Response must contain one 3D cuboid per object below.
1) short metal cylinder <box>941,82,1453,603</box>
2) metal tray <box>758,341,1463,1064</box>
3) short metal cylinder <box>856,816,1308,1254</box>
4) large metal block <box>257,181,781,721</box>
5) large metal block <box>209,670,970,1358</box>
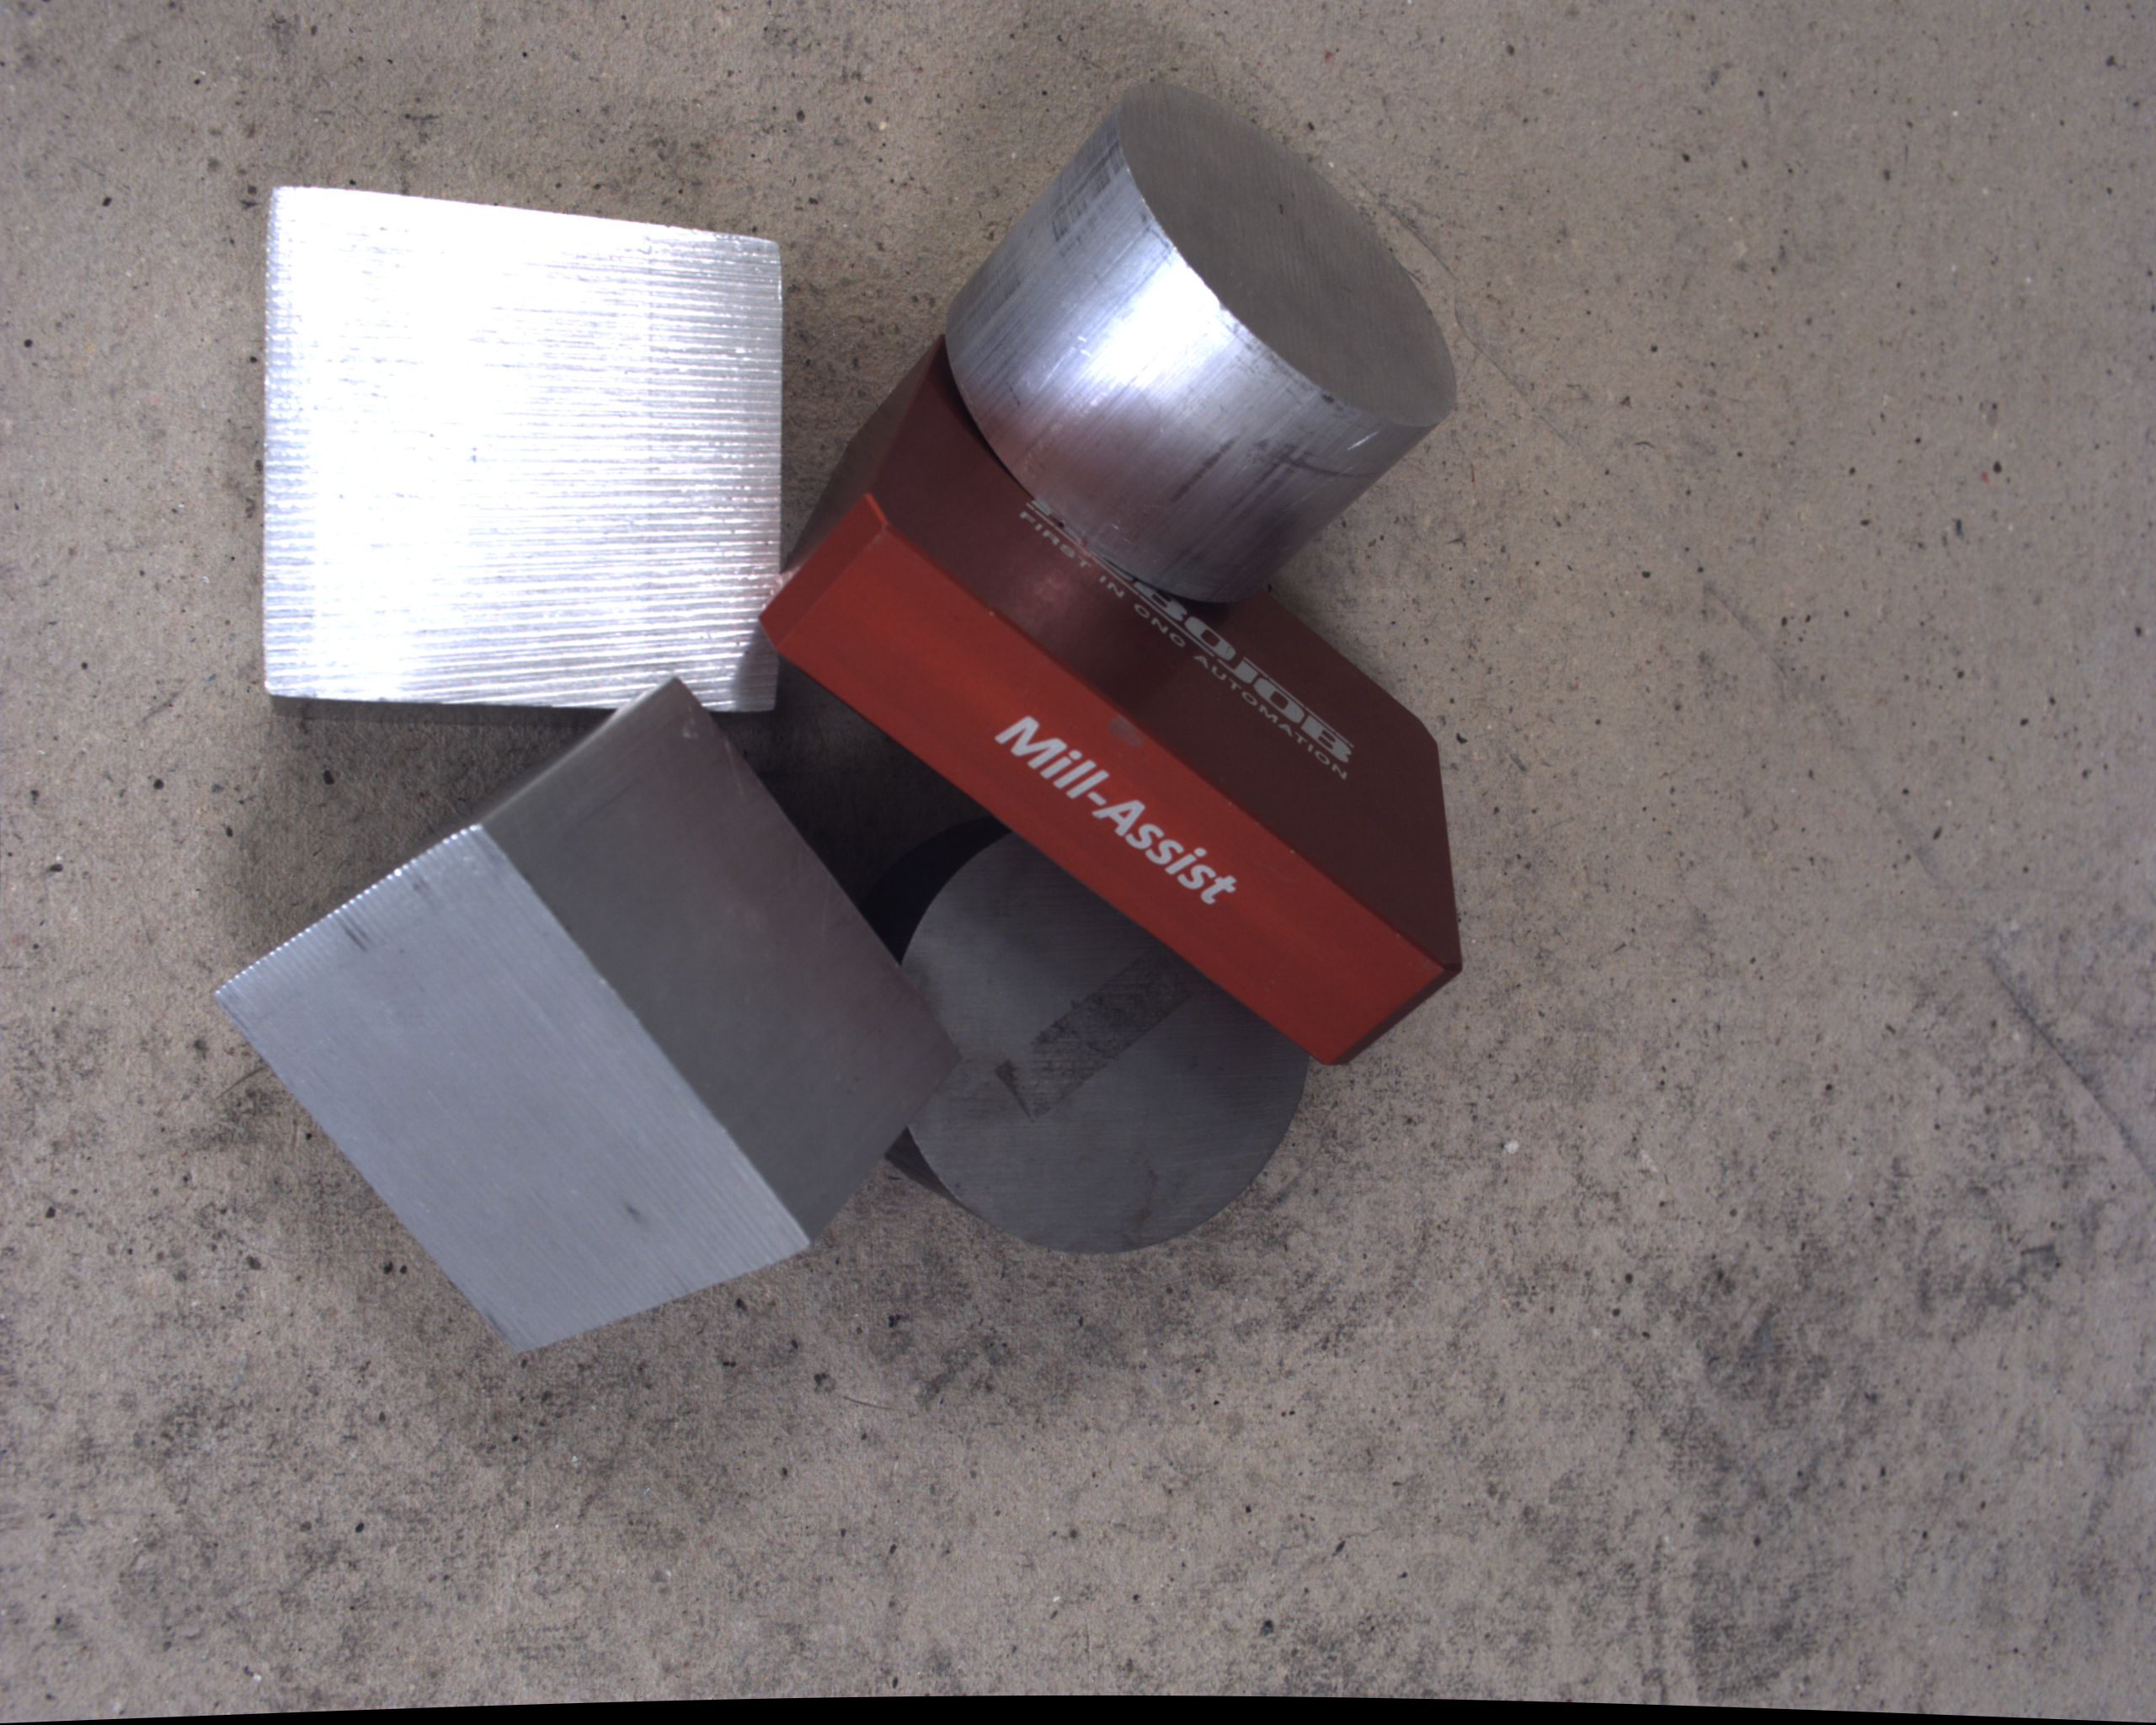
[{"bbox_3d":[0.022,-0.095,0.384,0.080,0.050,0.080,28,41,-27],"label":"short metal cylinder"},{"bbox_3d":[0.011,-0.031,0.381,0.130,0.090,0.030,37,118,-16],"label":"metal tray"},{"bbox_3d":[-0.003,0.030,0.397,0.081,0.050,0.080,0,90,-20],"label":"short metal cylinder"},{"bbox_3d":[-0.097,-0.065,0.359,0.081,0.050,0.080,1,90,-20],"label":"large metal block"},{"bbox_3d":[-0.080,0.027,0.344,0.080,0.080,0.050,55,38,-12],"label":"large metal block"}]
